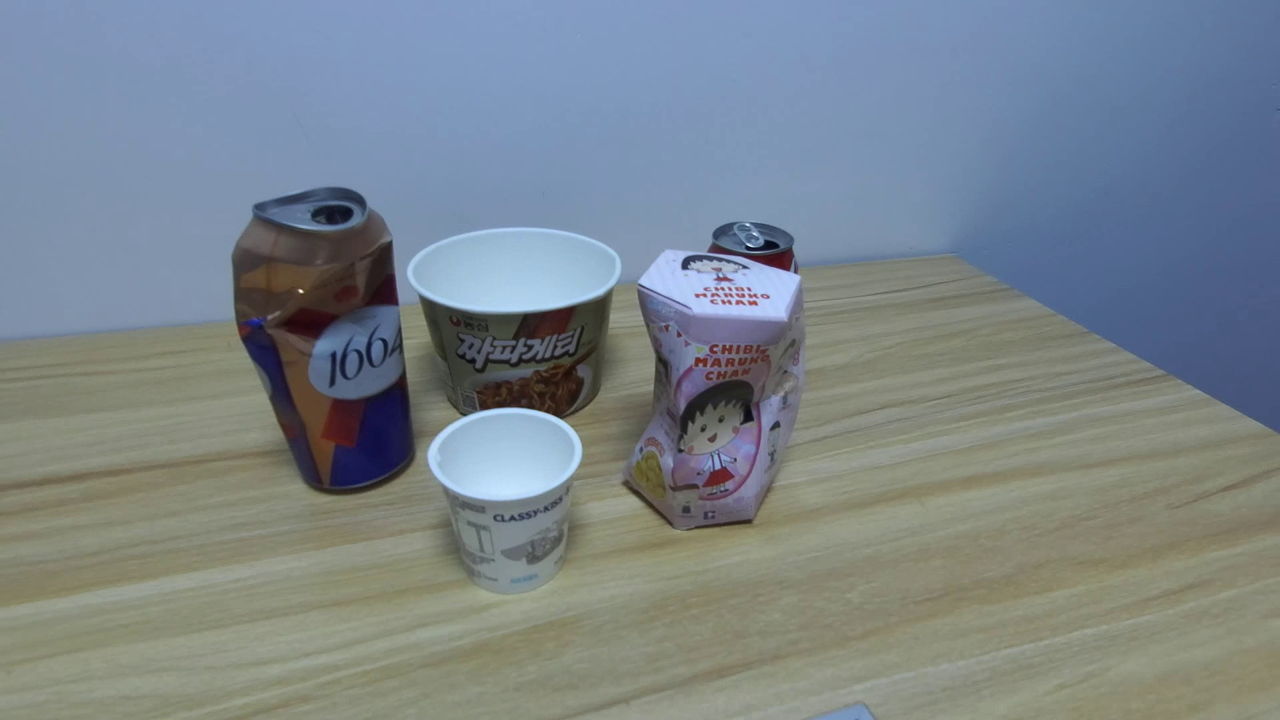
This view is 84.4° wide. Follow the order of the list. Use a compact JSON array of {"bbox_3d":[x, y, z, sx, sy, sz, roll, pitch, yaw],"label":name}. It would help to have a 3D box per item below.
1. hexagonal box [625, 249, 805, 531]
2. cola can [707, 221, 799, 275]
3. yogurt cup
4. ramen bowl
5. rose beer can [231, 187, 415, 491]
[{"bbox_3d":[0.035,0.017,0.387,0.089,0.135,0.093,-25,40,-38],"label":"hexagonal box"},{"bbox_3d":[0.074,-0.036,0.500,0.066,0.117,0.066,6,32,6],"label":"cola can"},{"bbox_3d":[-0.064,0.072,0.352,0.072,0.068,0.072,2,30,-1],"label":"yogurt cup"},{"bbox_3d":[-0.083,-0.021,0.494,0.140,0.095,0.140,2,28,-1],"label":"ramen bowl"},{"bbox_3d":[-0.167,-0.007,0.387,0.068,0.162,0.073,-2,32,-8],"label":"rose beer can"}]
